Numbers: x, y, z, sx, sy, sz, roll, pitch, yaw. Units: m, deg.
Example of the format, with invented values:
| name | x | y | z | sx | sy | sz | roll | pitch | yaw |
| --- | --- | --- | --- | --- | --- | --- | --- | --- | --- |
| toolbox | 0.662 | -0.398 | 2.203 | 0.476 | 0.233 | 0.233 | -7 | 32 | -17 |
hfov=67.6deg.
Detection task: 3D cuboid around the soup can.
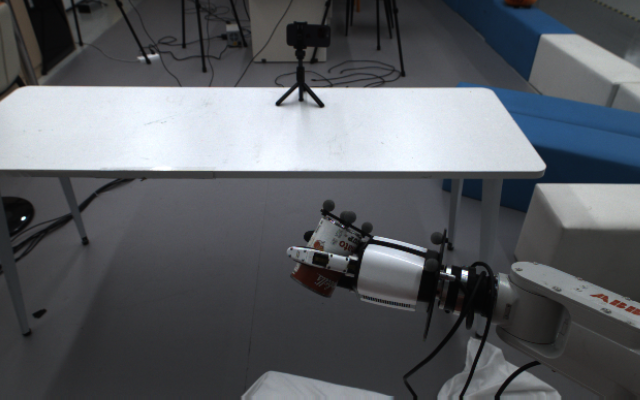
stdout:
| name | x | y | z | sx | sy | sz | roll | pitch | yaw |
| --- | --- | --- | --- | --- | --- | --- | --- | --- | --- |
| soup can | 0.011 | 0.082 | 0.704 | 0.067 | 0.101 | 0.067 | 29 | -3 | 2 |
